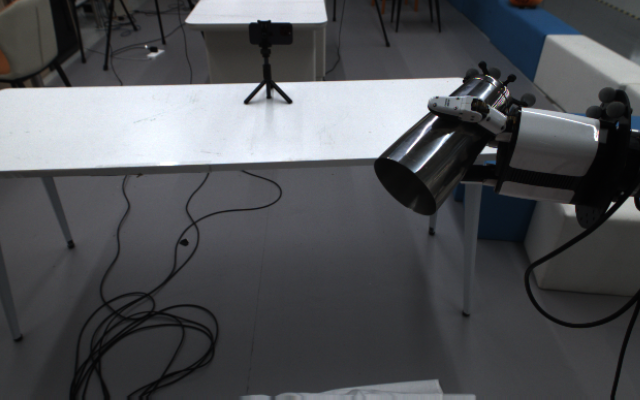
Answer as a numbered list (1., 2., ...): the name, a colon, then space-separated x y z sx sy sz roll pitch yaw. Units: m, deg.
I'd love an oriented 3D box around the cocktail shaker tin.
1. cocktail shaker tin: 0.156 -0.078 0.583 0.170 0.093 0.093 -43 51 -15
